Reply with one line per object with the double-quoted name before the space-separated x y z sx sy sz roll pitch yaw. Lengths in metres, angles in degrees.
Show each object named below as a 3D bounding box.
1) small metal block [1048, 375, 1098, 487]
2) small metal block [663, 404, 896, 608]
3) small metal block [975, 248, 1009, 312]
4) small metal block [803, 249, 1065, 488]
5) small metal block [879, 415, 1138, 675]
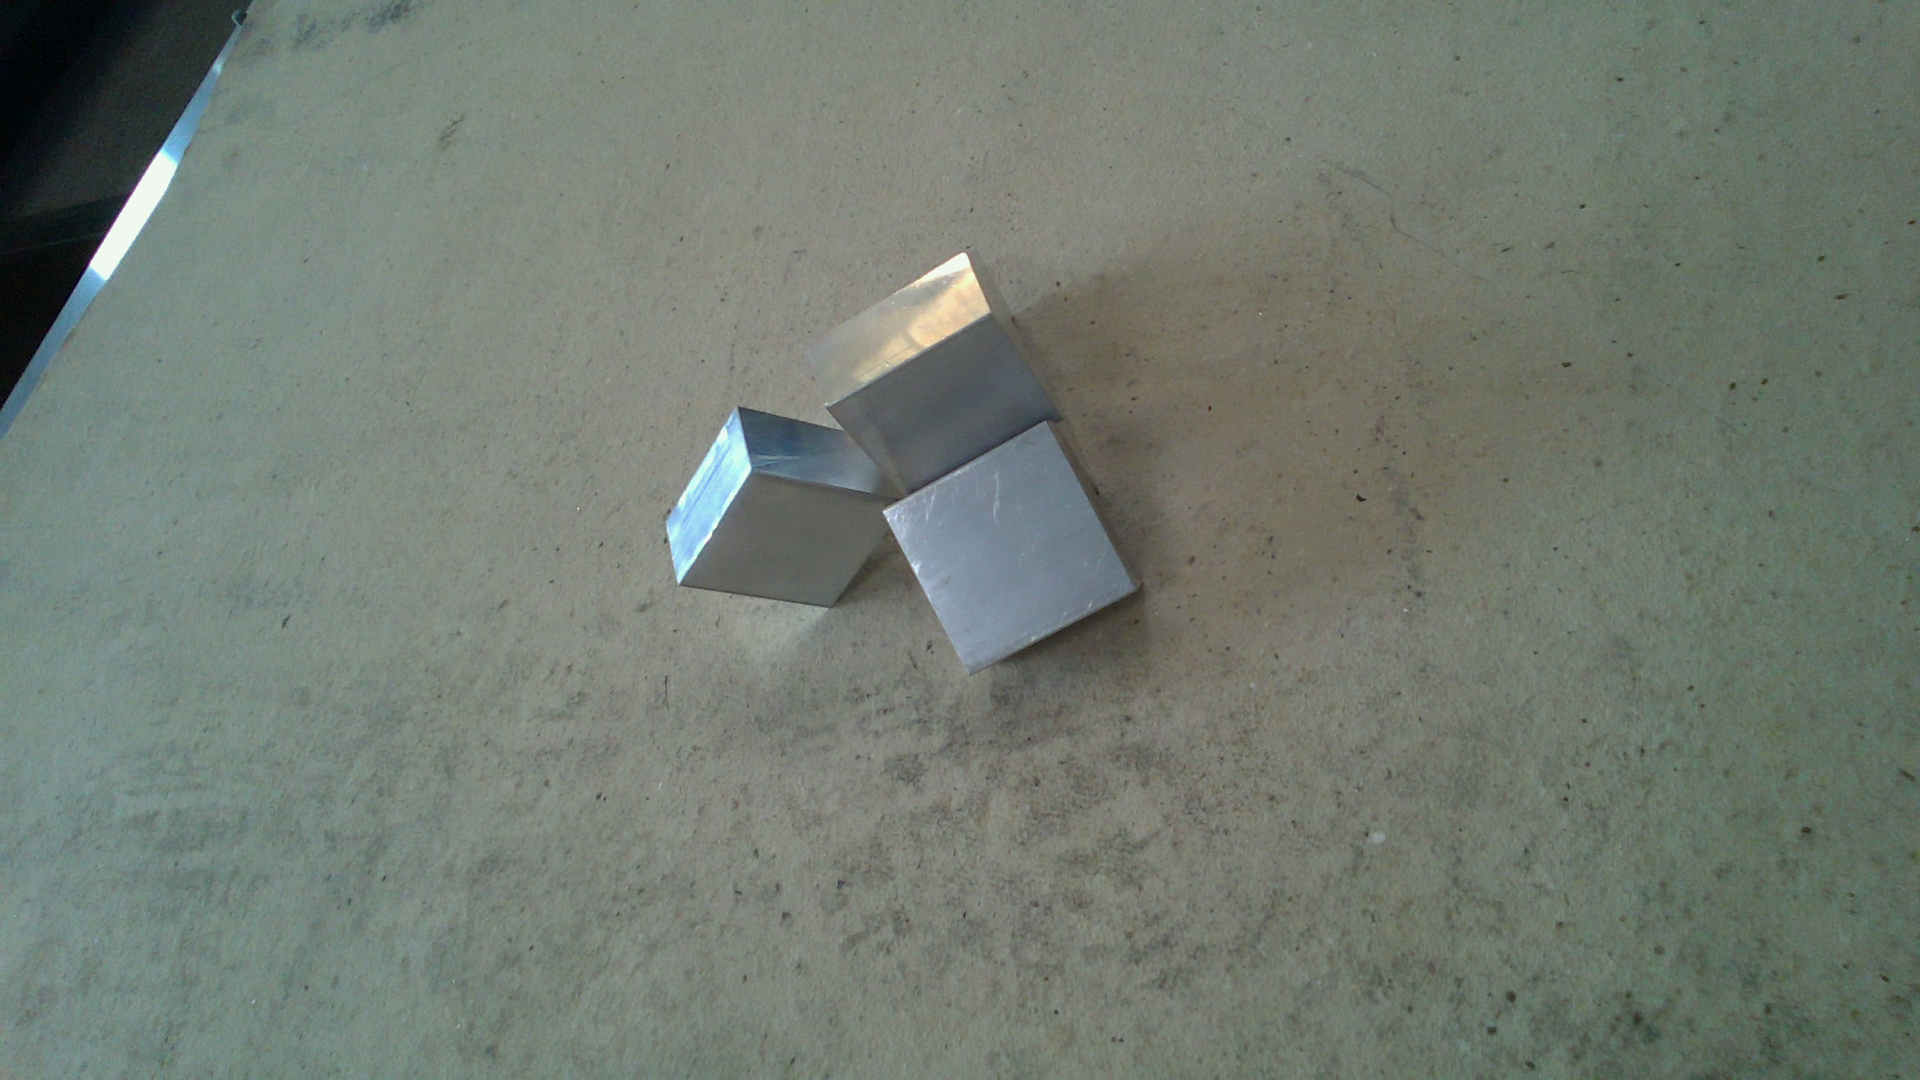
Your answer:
"small metal block" 0.006 -0.028 0.408 0.050 0.025 0.050 -30 51 13
"small metal block" -0.051 -0.008 0.399 0.050 0.050 0.025 -51 43 35
"small metal block" -0.012 -0.065 0.425 0.050 0.025 0.050 -28 12 11
"small metal block" -0.006 -0.043 0.376 0.050 0.050 0.025 -29 52 11
"small metal block" 0.014 0.001 0.370 0.050 0.025 0.050 -29 88 11
